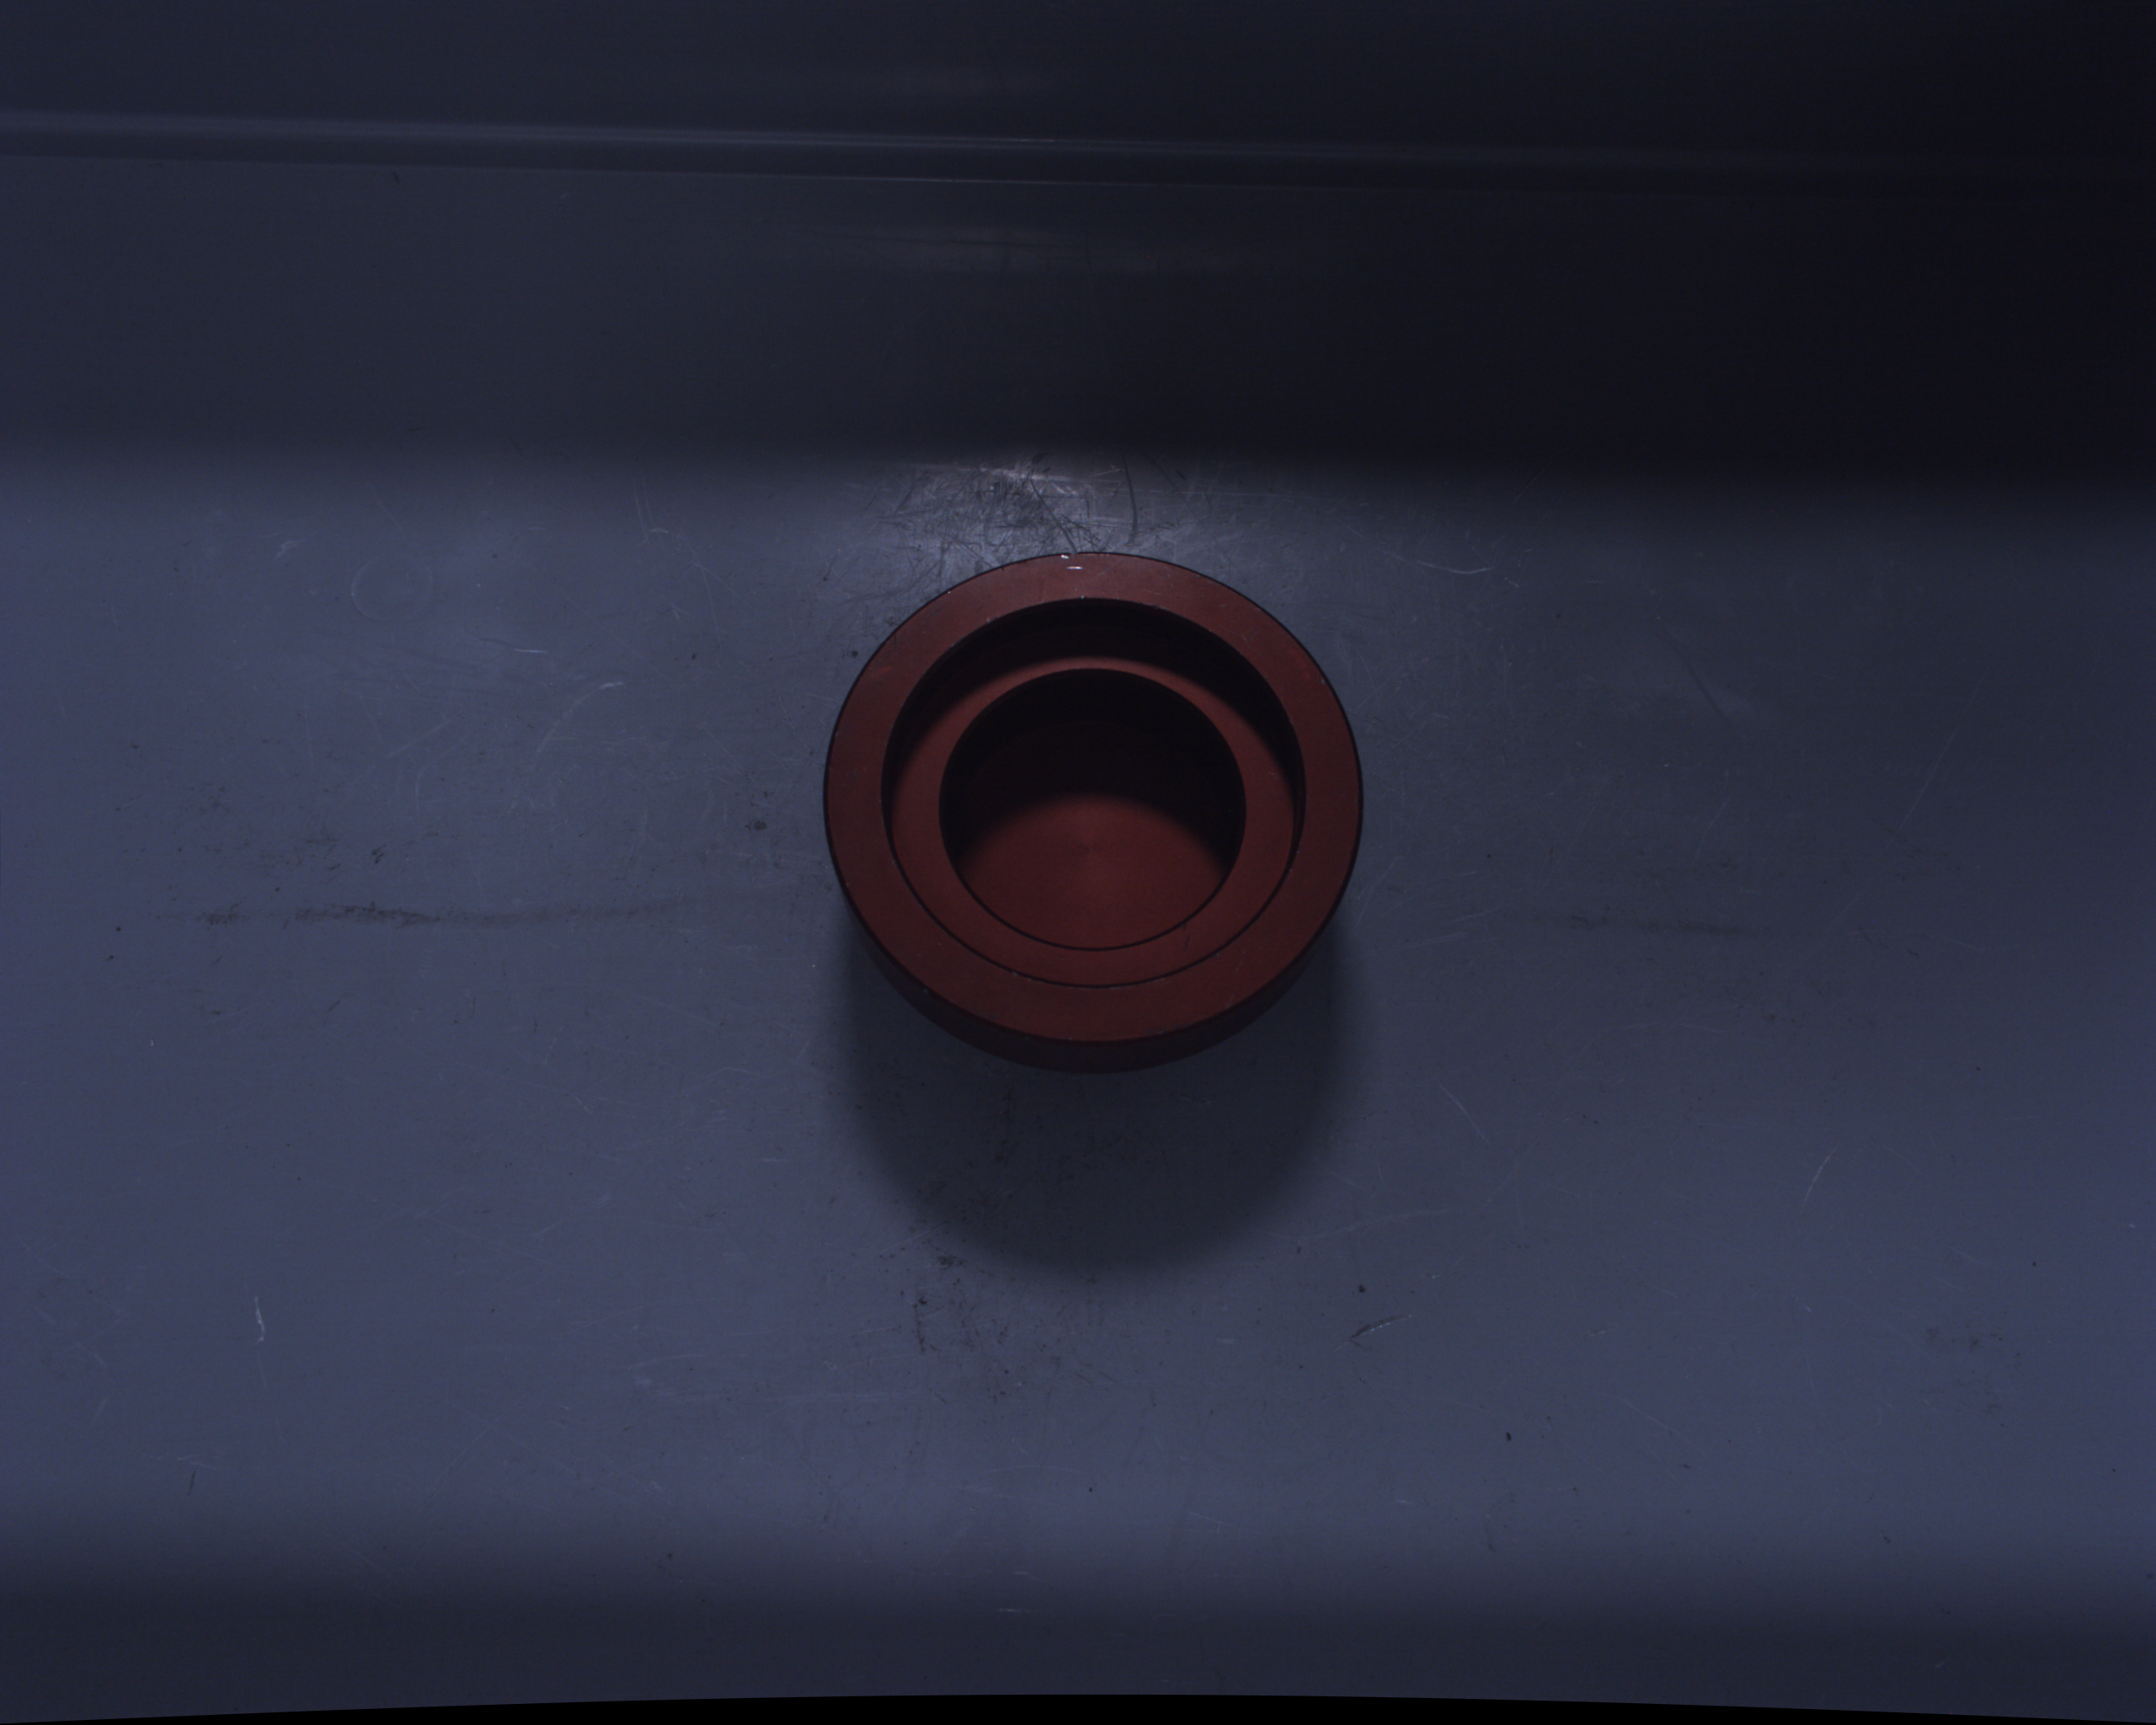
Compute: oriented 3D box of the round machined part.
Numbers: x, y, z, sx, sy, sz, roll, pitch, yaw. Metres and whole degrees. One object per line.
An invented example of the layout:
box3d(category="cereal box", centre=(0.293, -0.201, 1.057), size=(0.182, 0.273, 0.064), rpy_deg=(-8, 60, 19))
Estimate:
box3d(category="round machined part", centre=(0.003, -0.007, 0.399), size=(0.099, 0.042, 0.098), rpy_deg=(0, 70, -1))
